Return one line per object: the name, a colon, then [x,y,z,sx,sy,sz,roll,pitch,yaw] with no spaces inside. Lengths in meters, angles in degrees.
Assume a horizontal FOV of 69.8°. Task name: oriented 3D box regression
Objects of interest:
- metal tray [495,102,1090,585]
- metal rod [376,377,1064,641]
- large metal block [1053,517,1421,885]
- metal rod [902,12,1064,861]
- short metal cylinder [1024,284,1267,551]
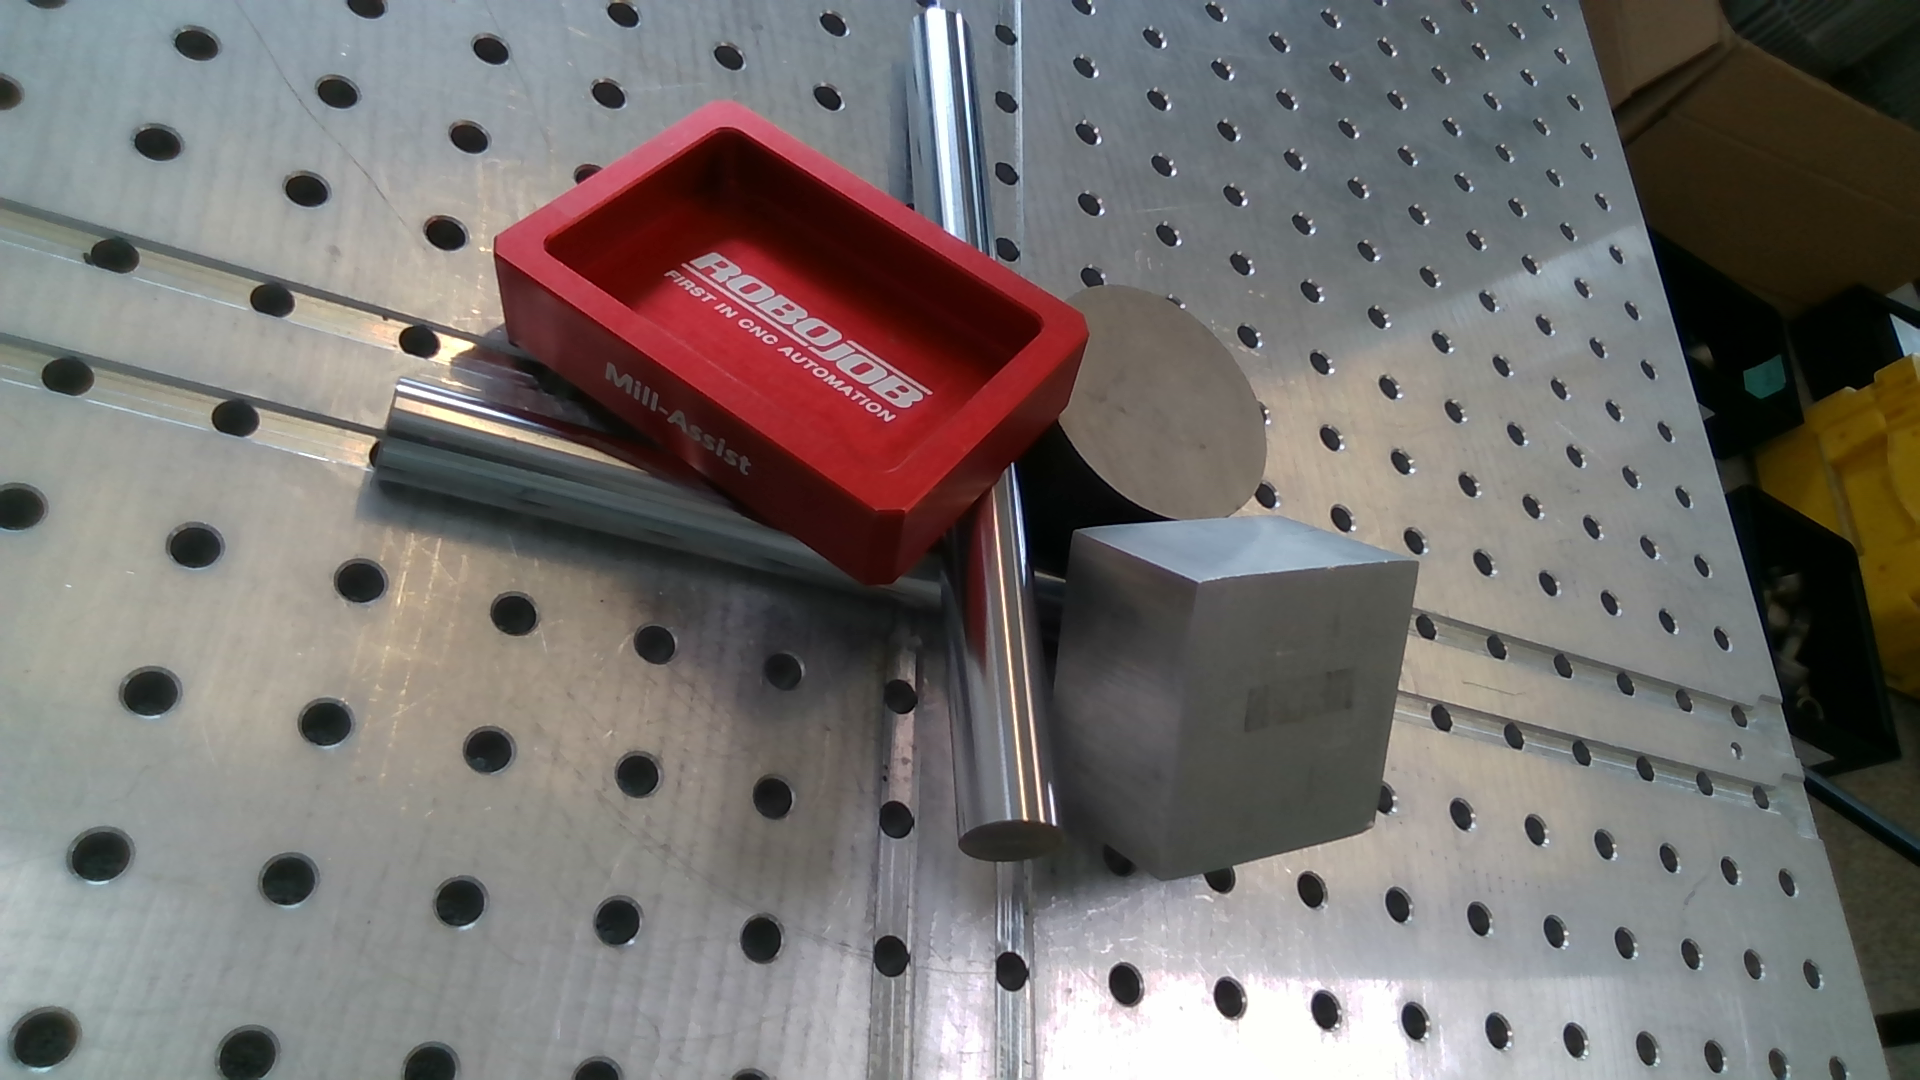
metal tray: [-0.043,-0.057,0.363,0.130,0.030,0.090,34,55,15]
metal rod: [-0.004,0.008,0.389,0.300,0.025,0.025,15,58,-24]
large metal block: [0.073,0.040,0.378,0.080,0.050,0.080,-4,107,-33]
metal rod: [0.002,-0.053,0.404,0.025,0.025,0.299,14,52,-25]
short metal cylinder: [0.047,-0.031,0.425,0.080,0.050,0.080,14,59,-25]
